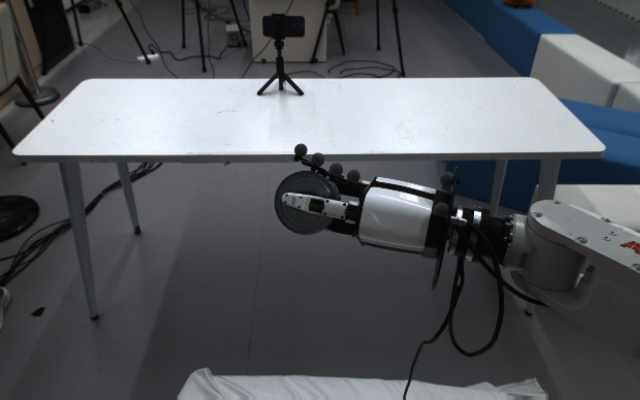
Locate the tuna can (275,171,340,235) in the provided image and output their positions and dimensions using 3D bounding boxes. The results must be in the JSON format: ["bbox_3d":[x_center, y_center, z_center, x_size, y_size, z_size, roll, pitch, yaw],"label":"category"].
[{"bbox_3d":[-0.014,0.003,0.654,0.085,0.085,0.034,10,5,11],"label":"tuna can"}]
